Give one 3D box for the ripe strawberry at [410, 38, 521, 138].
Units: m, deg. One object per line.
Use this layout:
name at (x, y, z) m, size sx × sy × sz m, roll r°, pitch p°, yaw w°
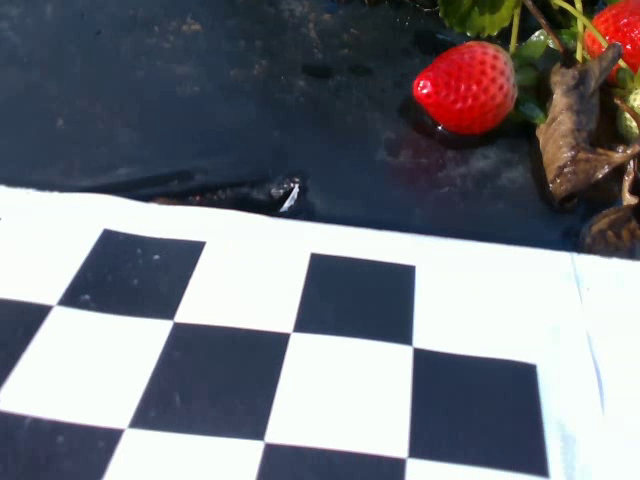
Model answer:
ripe strawberry at (0.046, -0.052, 0.215) m, size 0.043 × 0.030 × 0.035 m, roll -17°, pitch 48°, yaw -26°
